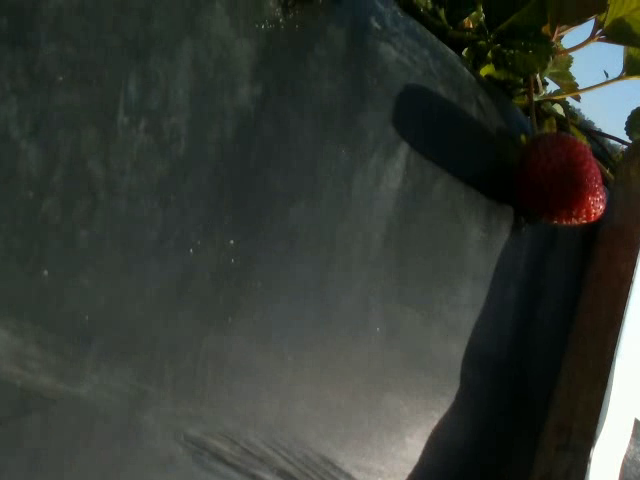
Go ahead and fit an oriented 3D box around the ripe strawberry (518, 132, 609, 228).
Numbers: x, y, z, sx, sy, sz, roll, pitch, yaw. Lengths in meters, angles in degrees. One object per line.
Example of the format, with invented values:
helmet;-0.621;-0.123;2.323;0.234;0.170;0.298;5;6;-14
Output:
ripe strawberry;0.067;-0.014;0.179;0.034;0.033;0.038;35;12;-16
